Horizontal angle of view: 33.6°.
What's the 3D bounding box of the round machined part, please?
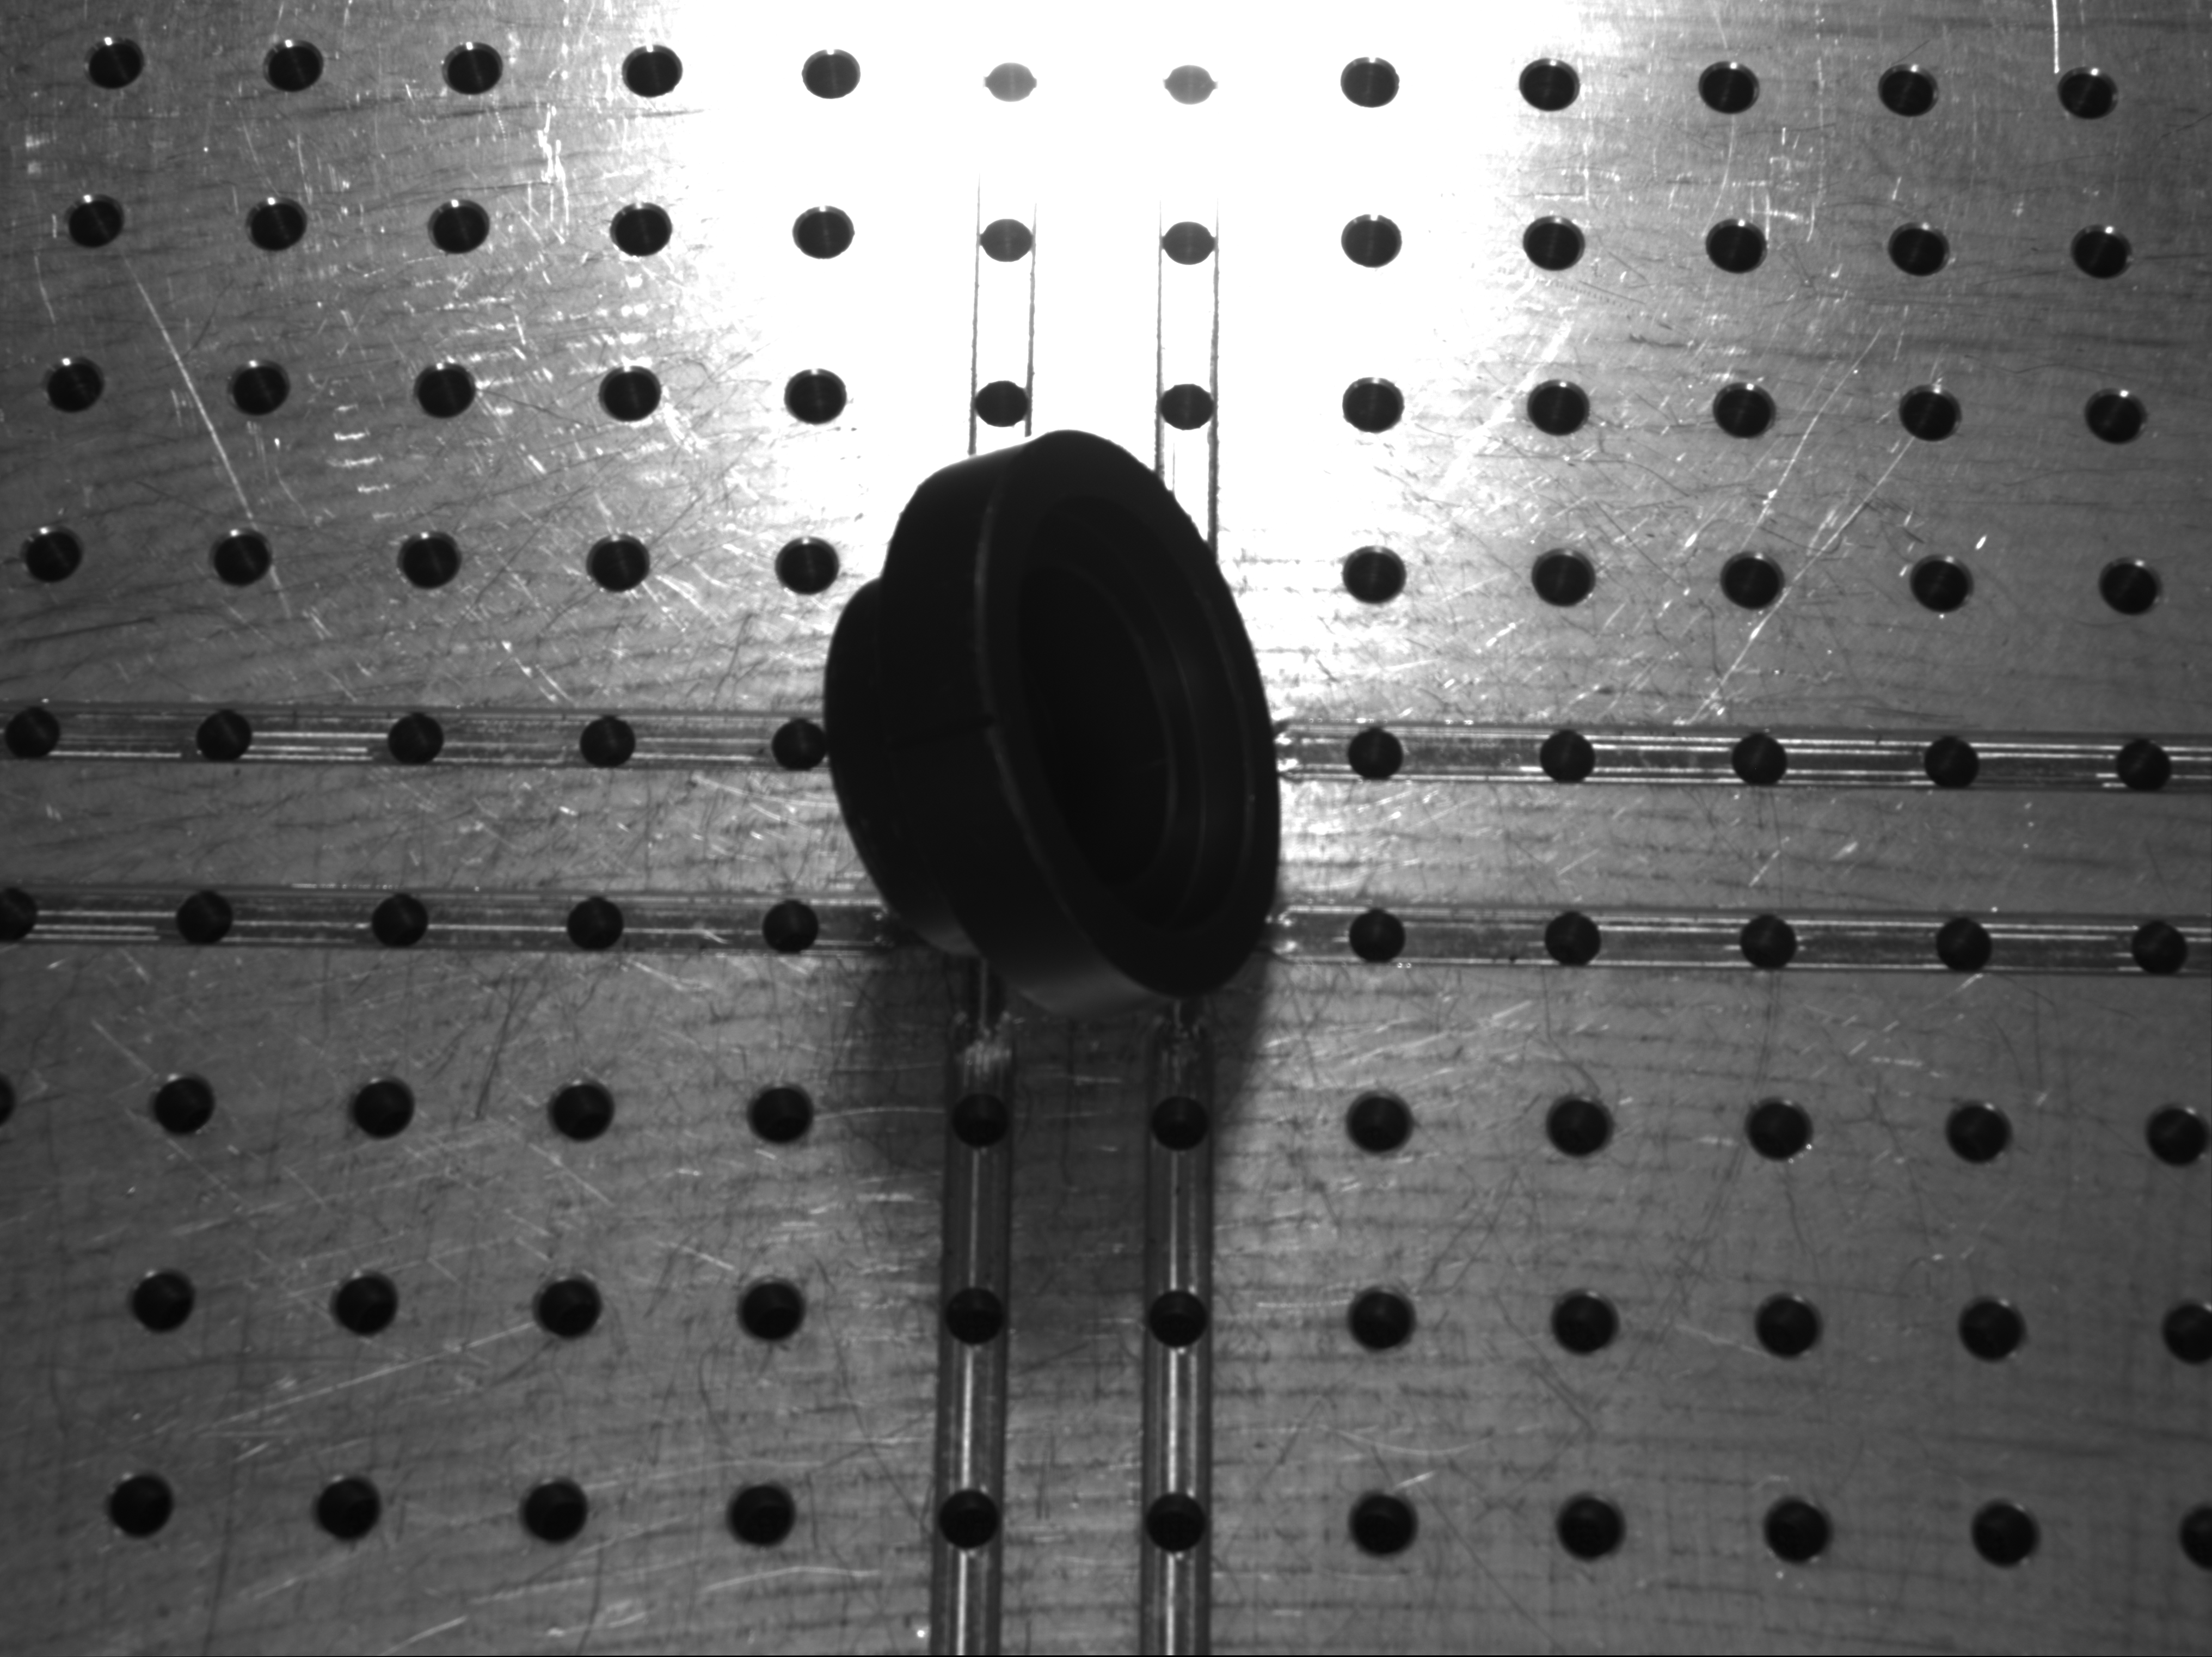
[{"bbox_3d":[-0.010,-0.015,0.624,0.042,0.098,0.098,-14,67,29],"label":"round machined part"}]
